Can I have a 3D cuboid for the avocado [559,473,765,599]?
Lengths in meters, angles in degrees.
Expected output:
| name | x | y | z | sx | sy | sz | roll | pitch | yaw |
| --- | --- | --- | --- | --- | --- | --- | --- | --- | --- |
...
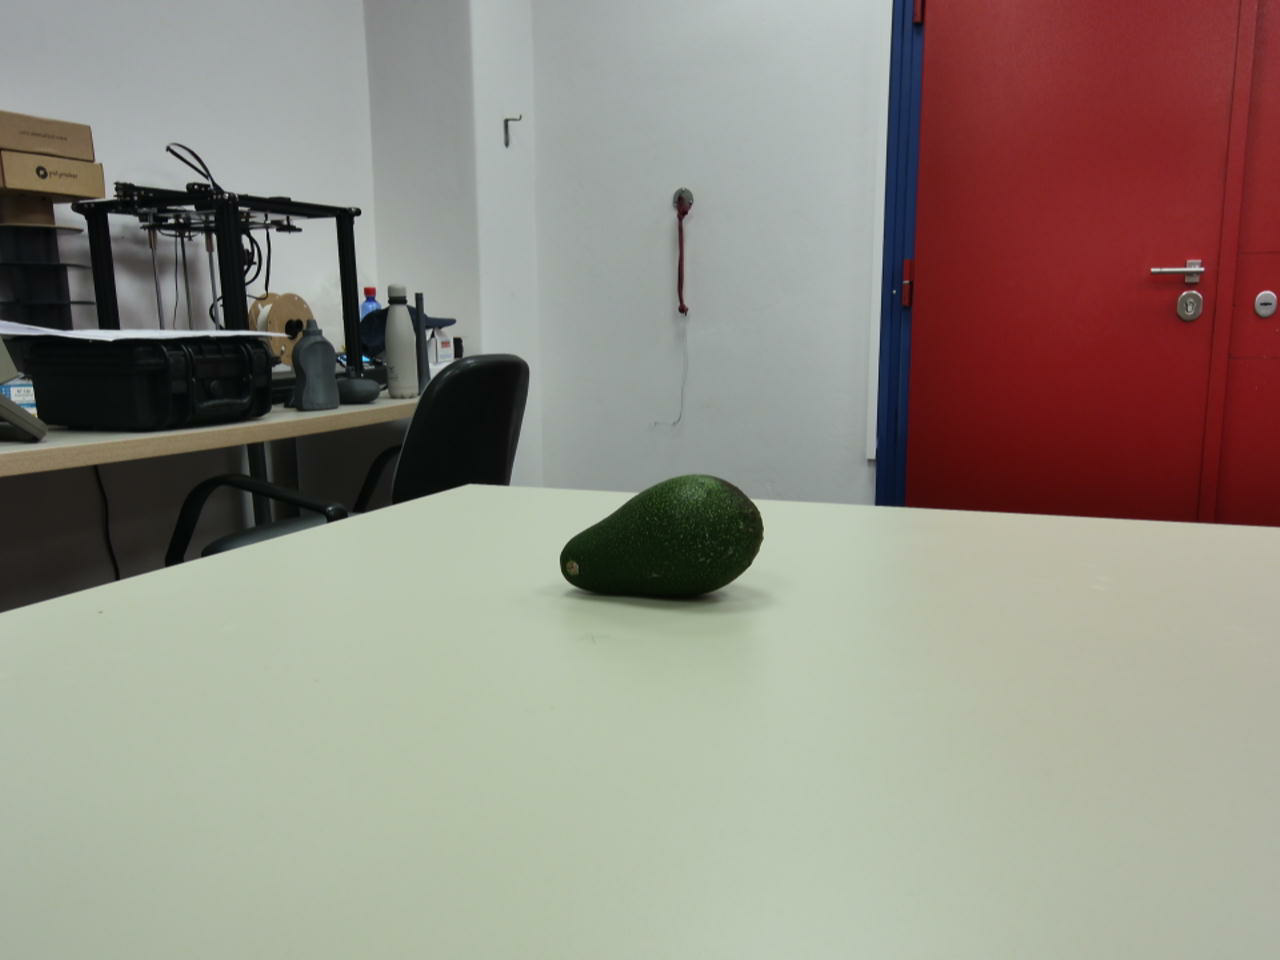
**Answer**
| name | x | y | z | sx | sy | sz | roll | pitch | yaw |
| --- | --- | --- | --- | --- | --- | --- | --- | --- | --- |
| avocado | 0.017 | 0.034 | 0.619 | 0.123 | 0.076 | 0.074 | 4 | 8 | 29 |
